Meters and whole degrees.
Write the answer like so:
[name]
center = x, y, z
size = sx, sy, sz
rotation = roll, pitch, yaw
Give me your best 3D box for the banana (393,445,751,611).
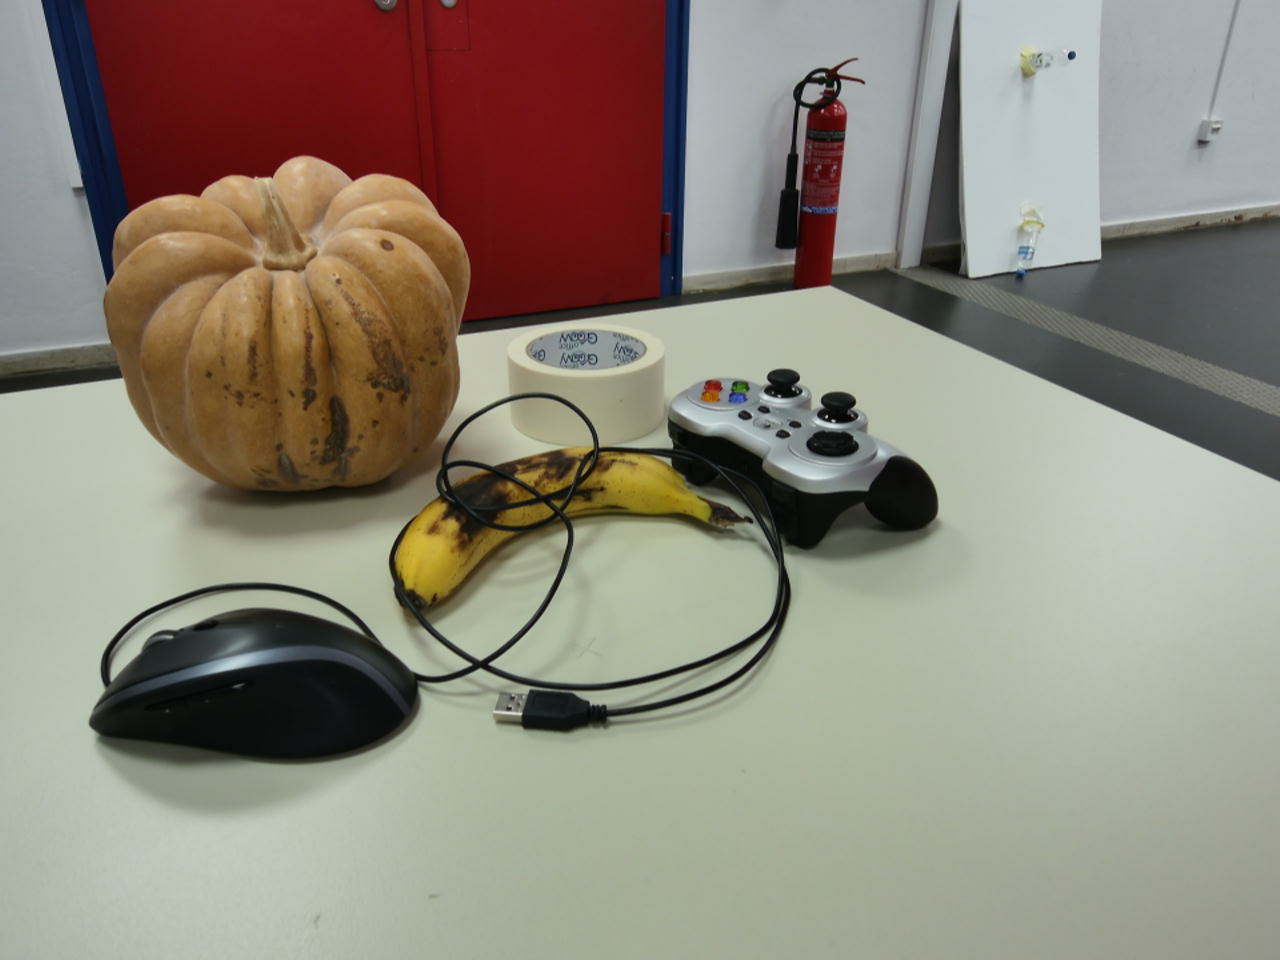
[banana]
center = -0.046, 0.017, 0.525
size = 0.187, 0.039, 0.094
rotation = -12, 28, -25
